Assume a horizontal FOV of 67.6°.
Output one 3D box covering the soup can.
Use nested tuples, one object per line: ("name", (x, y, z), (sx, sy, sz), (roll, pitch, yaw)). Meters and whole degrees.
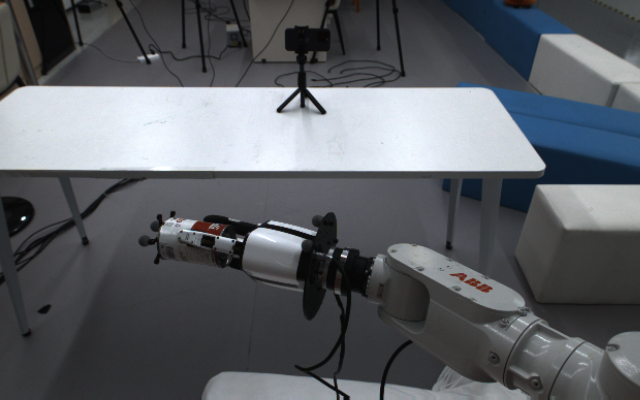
("soup can", (-0.189, 0.068, 0.749), (0.101, 0.067, 0.067), (6, 35, 11))
